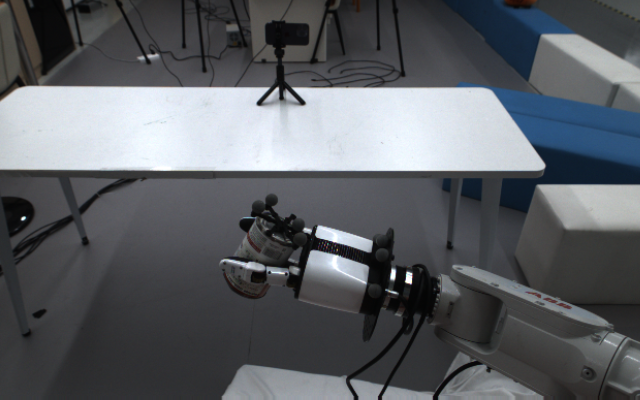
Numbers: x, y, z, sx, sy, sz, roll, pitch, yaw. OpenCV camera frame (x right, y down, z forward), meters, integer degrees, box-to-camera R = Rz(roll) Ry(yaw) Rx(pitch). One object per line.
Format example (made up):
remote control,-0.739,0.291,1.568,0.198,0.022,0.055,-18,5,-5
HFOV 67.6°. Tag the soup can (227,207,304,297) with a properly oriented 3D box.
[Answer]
soup can,-0.079,0.077,0.662,0.067,0.101,0.067,28,22,-12
